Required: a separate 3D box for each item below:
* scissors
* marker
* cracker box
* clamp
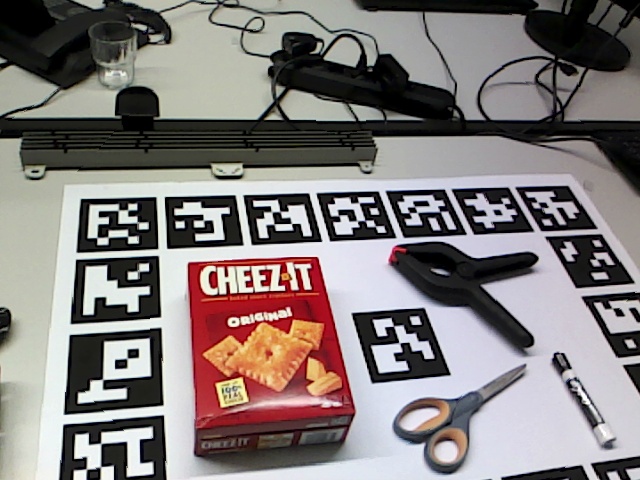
[{"bbox_3d":[0.178,0.190,0.725,0.202,0.016,0.088,-26,54,-34],"label":"scissors"},{"bbox_3d":[0.317,0.187,0.753,0.019,0.019,0.122,-5,47,-16],"label":"marker"},{"bbox_3d":[-0.060,0.124,0.709,0.164,0.072,0.214,-2,46,-12],"label":"cracker box"},{"bbox_3d":[0.189,0.056,0.866,0.203,0.036,0.165,20,44,8],"label":"clamp"}]
